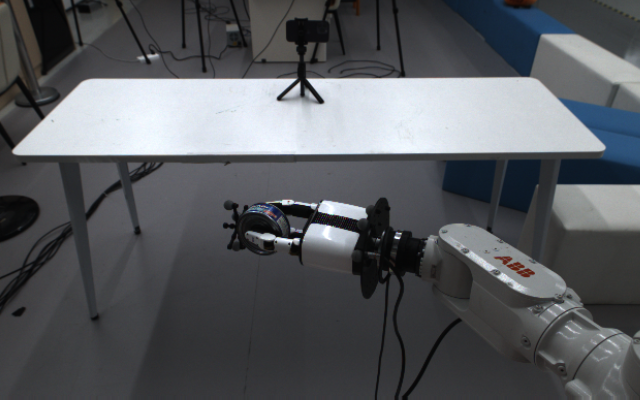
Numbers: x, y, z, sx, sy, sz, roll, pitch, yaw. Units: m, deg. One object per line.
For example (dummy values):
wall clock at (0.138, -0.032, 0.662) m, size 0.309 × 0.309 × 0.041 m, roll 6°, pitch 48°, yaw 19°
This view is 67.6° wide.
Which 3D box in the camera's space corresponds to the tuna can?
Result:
tuna can at (-0.093, 0.047, 0.806) m, size 0.085 × 0.085 × 0.034 m, roll 12°, pitch 29°, yaw 14°
